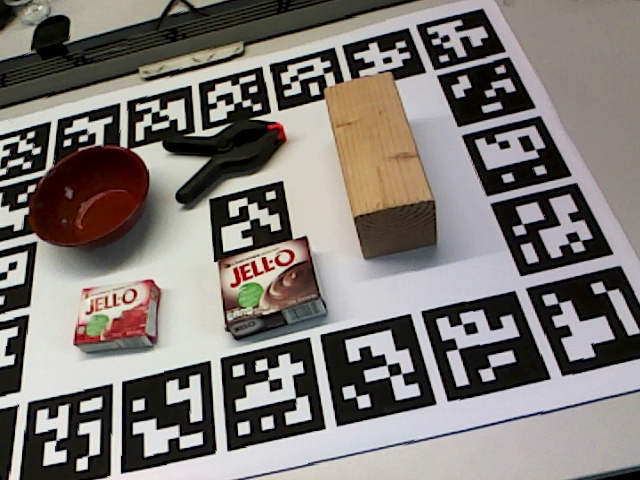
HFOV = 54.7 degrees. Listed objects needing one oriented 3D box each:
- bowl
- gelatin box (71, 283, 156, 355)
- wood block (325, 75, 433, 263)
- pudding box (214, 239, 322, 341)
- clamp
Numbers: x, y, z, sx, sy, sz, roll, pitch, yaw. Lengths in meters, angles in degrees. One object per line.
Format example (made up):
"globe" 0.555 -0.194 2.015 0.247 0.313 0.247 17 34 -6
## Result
"bowl" -0.297 -0.042 0.825 0.162 0.055 0.162 -5 59 8
"gelatin box" -0.244 0.094 0.731 0.089 0.030 0.073 -7 58 8
"wood block" 0.069 -0.088 0.744 0.090 0.090 0.207 -11 56 4
"pudding box" -0.061 0.058 0.710 0.114 0.038 0.090 -16 59 5
"clamp" -0.146 -0.109 0.848 0.165 0.036 0.122 -22 55 -4
